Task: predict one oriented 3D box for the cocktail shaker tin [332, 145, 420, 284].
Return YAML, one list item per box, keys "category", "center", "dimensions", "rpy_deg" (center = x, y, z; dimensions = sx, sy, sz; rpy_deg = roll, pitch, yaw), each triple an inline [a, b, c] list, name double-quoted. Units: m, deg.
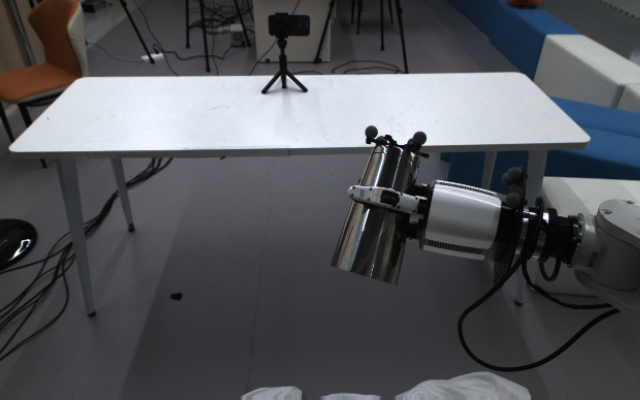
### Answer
- category: "cocktail shaker tin"
  center: [0.080, 0.017, 0.645]
  dimensions: [0.093, 0.170, 0.093]
  rpy_deg: [16, -6, 2]
